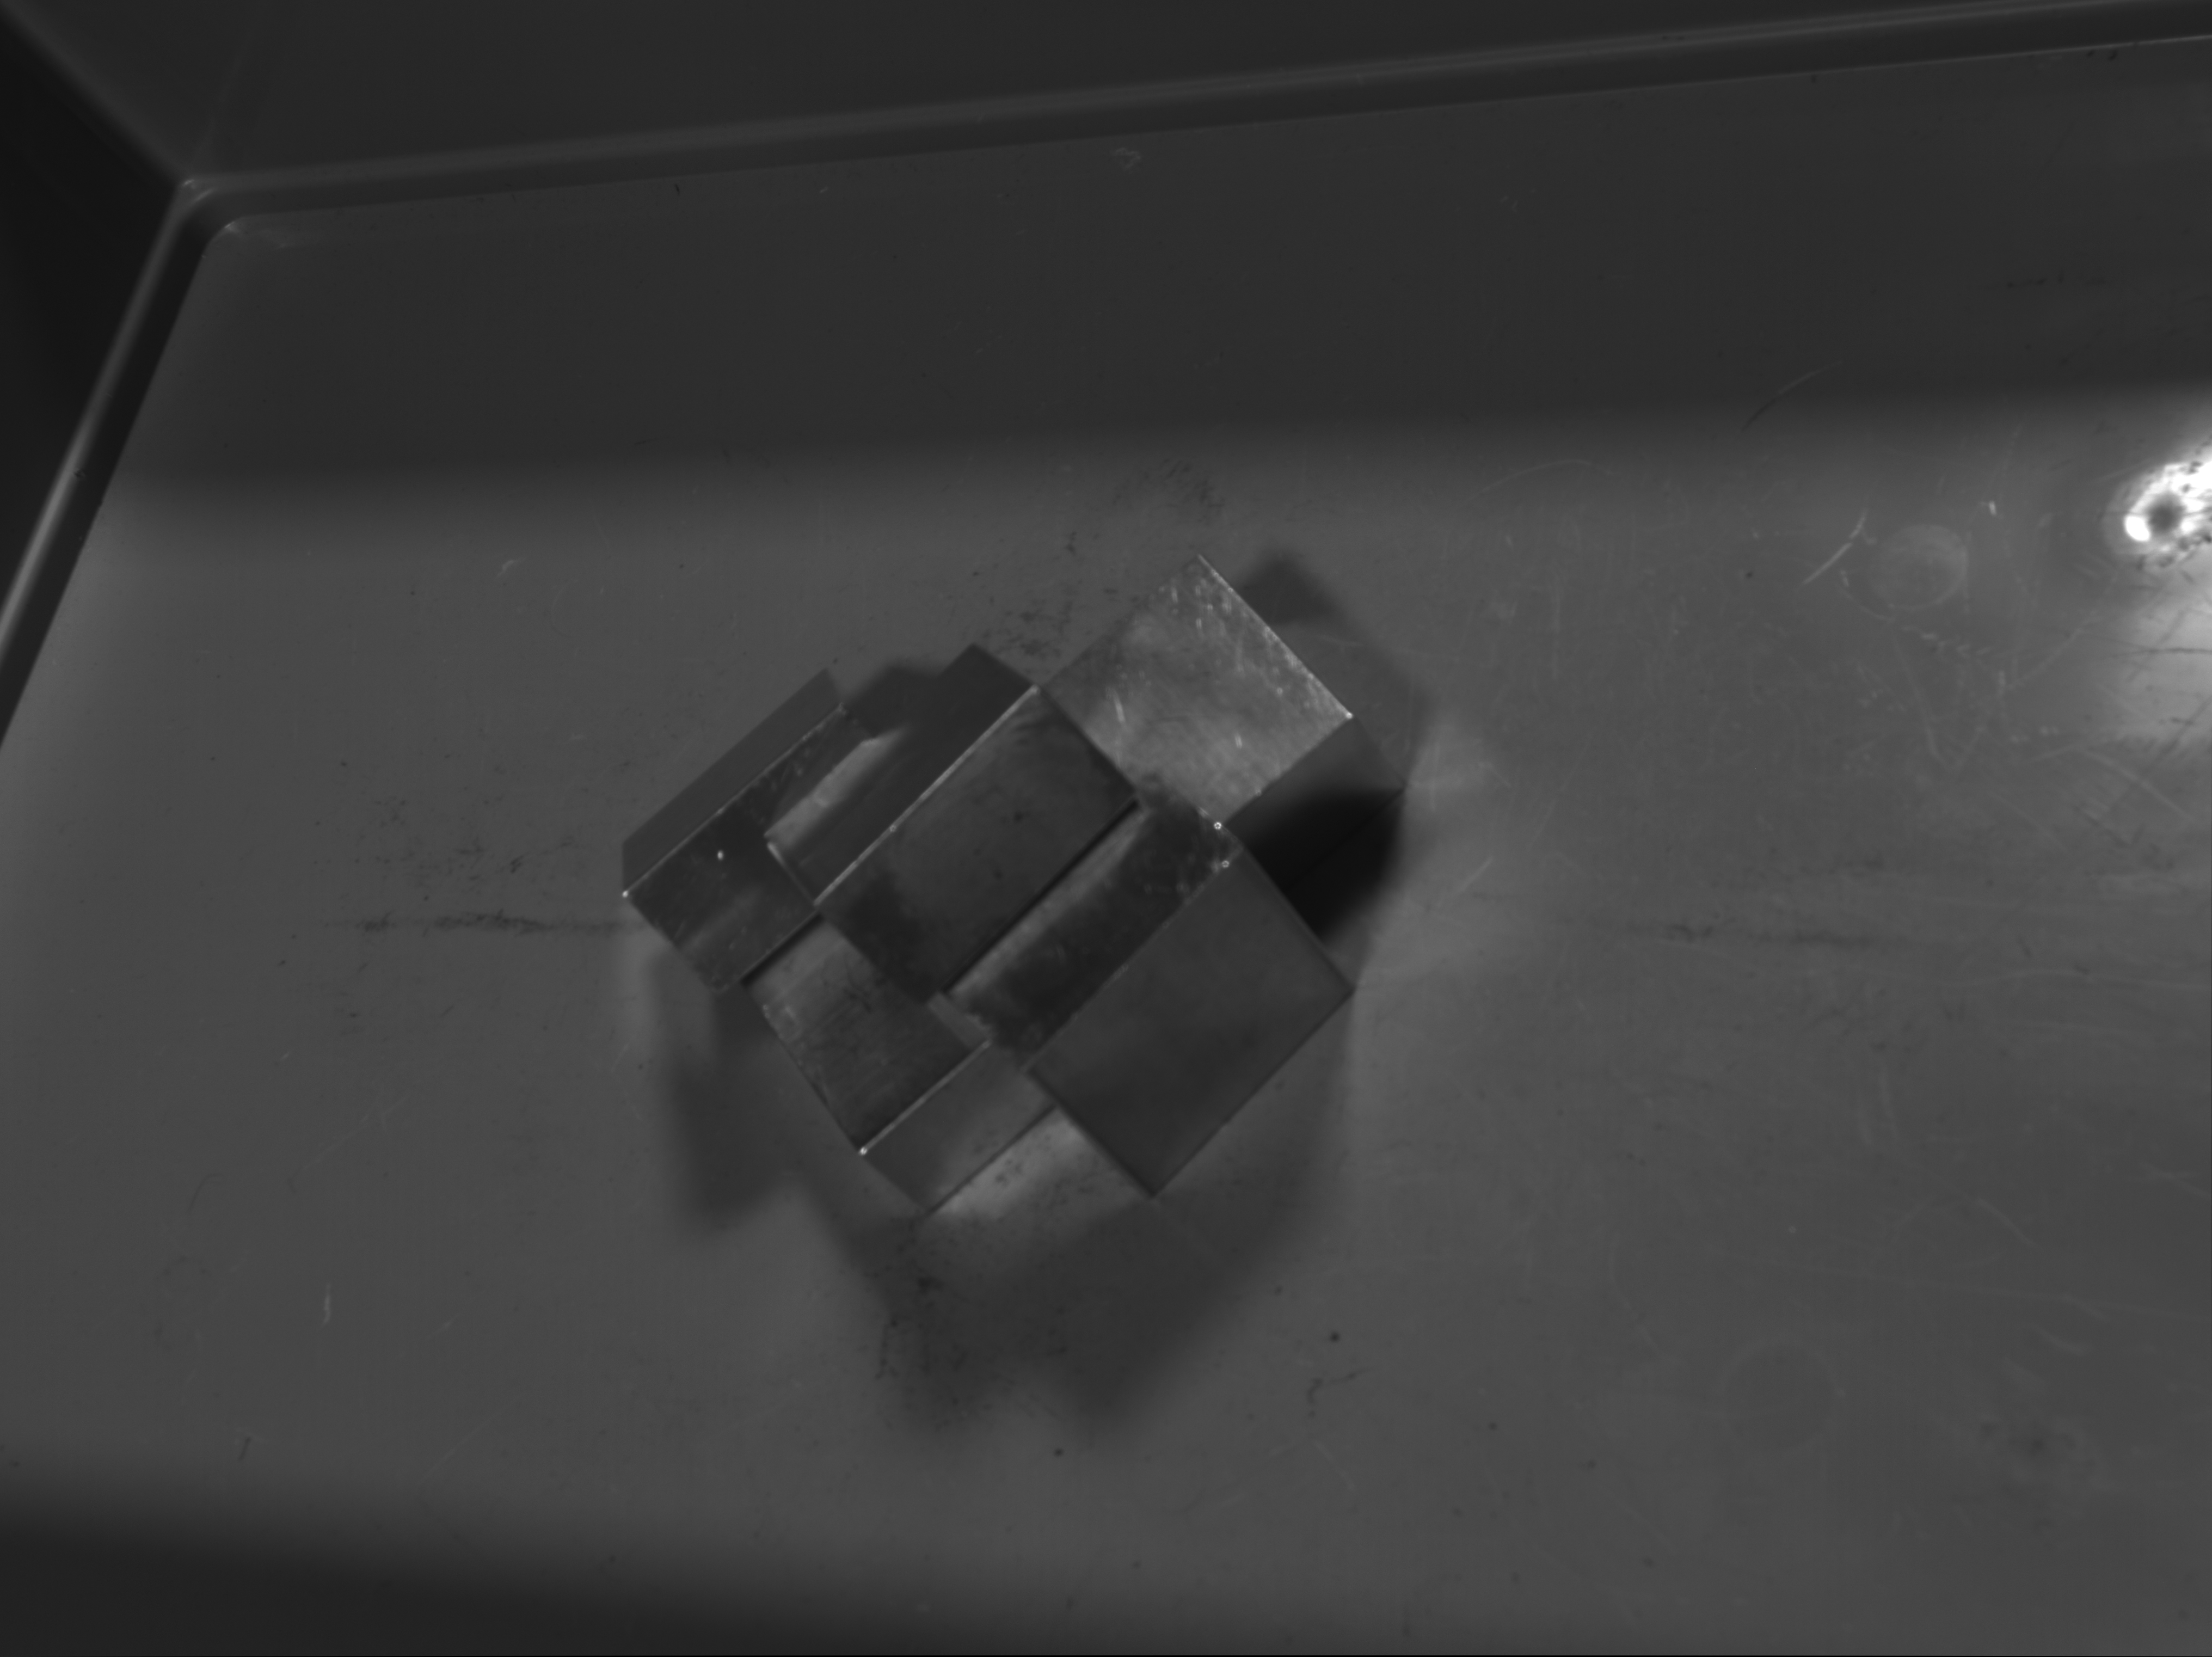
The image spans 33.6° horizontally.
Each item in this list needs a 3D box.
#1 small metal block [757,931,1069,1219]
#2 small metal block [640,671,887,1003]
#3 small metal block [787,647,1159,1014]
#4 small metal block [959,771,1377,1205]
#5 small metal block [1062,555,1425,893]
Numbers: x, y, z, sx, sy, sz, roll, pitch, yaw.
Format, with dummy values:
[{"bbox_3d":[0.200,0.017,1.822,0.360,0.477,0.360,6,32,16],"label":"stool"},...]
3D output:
[{"bbox_3d":[-0.026,0.030,0.638,0.050,0.025,0.050,-41,51,0],"label":"small metal block"},{"bbox_3d":[-0.056,0.001,0.657,0.050,0.025,0.050,-41,12,1],"label":"small metal block"},{"bbox_3d":[-0.023,-0.001,0.608,0.050,0.025,0.050,-44,17,-2],"label":"small metal block"},{"bbox_3d":[0.011,0.027,0.604,0.050,0.050,0.025,-46,51,-4],"label":"small metal block"},{"bbox_3d":[0.019,-0.011,0.640,0.050,0.025,0.050,-41,51,0],"label":"small metal block"}]
